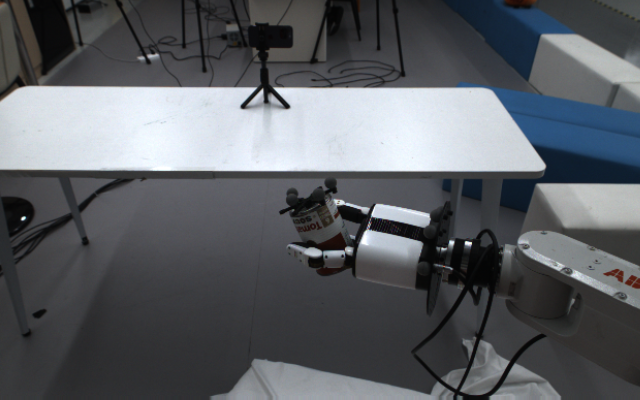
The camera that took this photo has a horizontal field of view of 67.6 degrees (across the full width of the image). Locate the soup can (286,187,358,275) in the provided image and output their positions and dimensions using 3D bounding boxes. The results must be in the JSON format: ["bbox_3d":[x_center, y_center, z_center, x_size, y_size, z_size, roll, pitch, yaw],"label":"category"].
[{"bbox_3d":[0.008,0.050,0.700,0.067,0.101,0.067,-23,16,7],"label":"soup can"}]
